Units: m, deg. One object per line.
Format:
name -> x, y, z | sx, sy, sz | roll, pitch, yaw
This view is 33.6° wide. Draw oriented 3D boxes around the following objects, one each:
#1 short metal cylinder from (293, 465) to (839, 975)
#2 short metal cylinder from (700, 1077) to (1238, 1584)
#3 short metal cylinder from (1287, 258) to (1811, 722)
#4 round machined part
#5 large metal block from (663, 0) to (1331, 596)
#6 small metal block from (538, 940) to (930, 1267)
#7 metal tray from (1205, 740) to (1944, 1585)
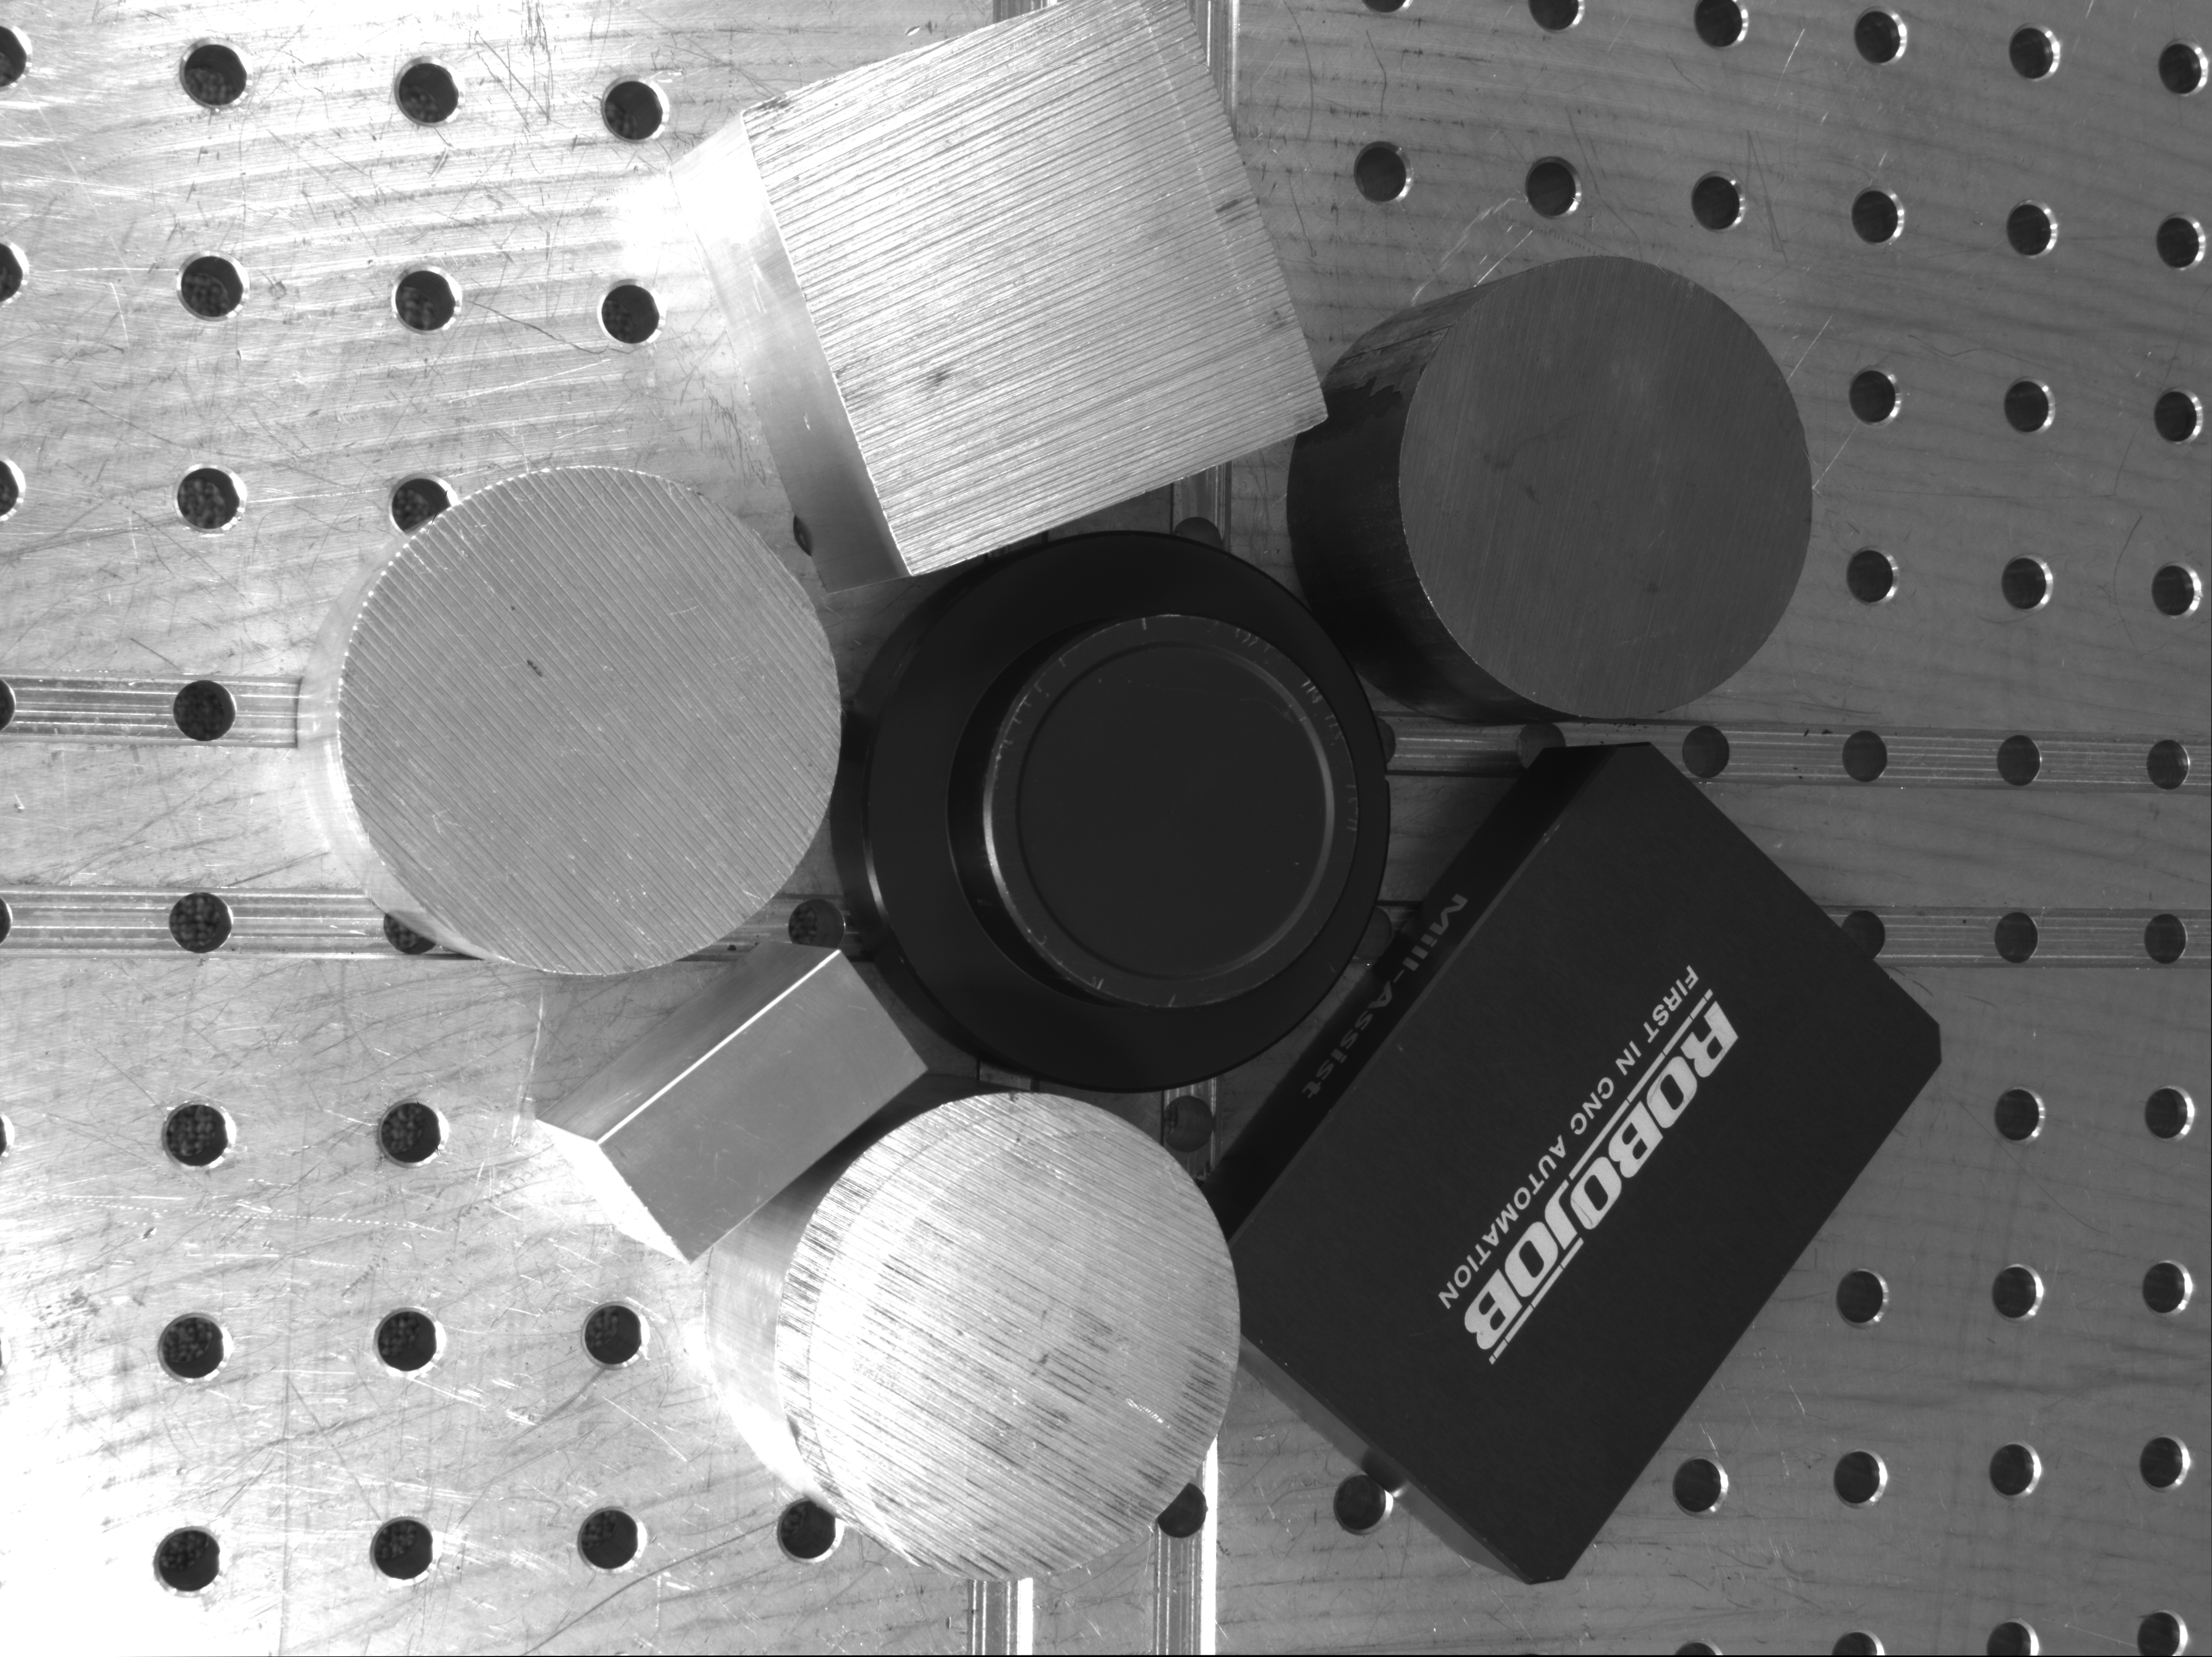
short metal cylinder -> -0.089, -0.017, 0.599 | 0.080, 0.050, 0.080 | 0, 90, -20
short metal cylinder -> -0.024, 0.083, 0.623 | 0.080, 0.050, 0.080 | 0, 90, -20
short metal cylinder -> 0.079, -0.059, 0.660 | 0.080, 0.050, 0.080 | 0, 90, -20
round machined part -> 0.005, -0.003, 0.637 | 0.098, 0.042, 0.098 | 0, 90, -20
large metal block -> -0.019, -0.093, 0.625 | 0.080, 0.050, 0.080 | -23, 97, -18
small metal block -> -0.063, 0.044, 0.608 | 0.050, 0.050, 0.025 | -39, 102, -16
metal tray -> 0.082, 0.060, 0.671 | 0.090, 0.030, 0.130 | 42, 76, -15
